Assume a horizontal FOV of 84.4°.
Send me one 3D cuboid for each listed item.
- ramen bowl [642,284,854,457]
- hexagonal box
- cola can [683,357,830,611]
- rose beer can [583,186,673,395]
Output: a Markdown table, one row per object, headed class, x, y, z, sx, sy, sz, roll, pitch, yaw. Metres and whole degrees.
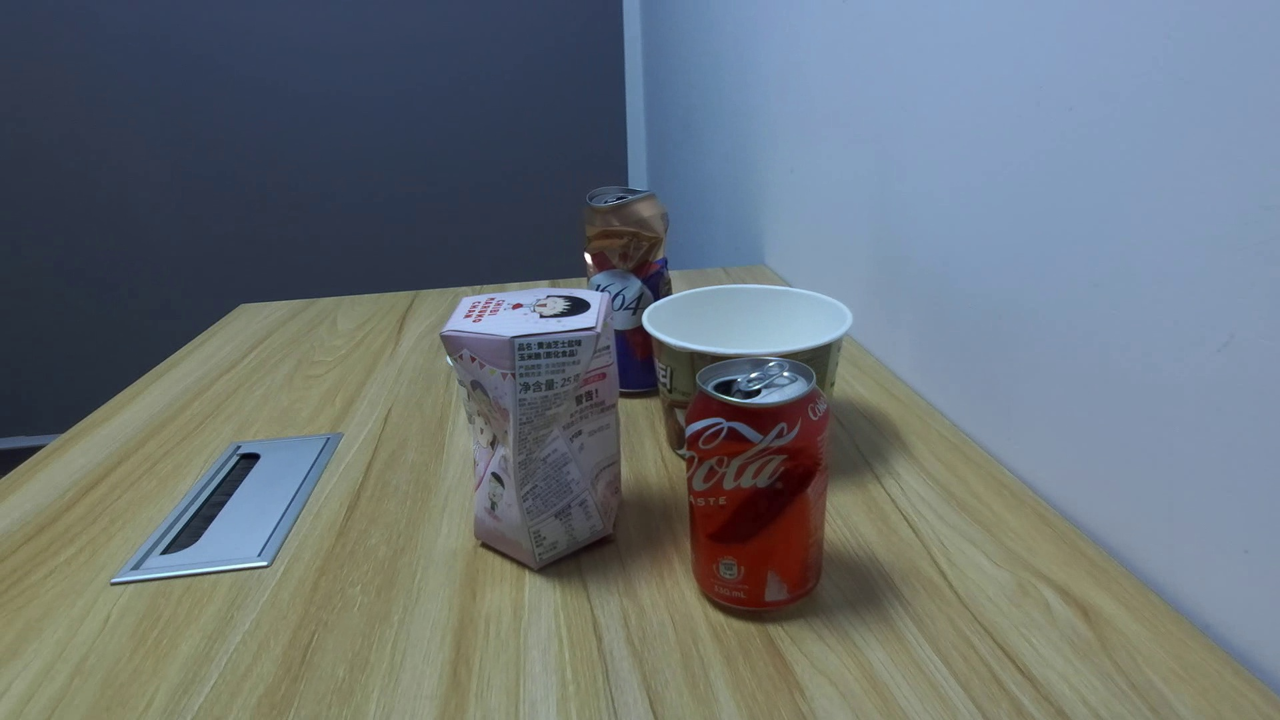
| class | x | y | z | sx | sy | sz | roll | pitch | yaw |
| --- | --- | --- | --- | --- | --- | --- | --- | --- | --- |
| ramen bowl | 0.070 | 0.012 | 0.481 | 0.140 | 0.095 | 0.140 | -1 | 22 | 1 |
| hexagonal box | -0.056 | 0.033 | 0.396 | 0.093 | 0.135 | 0.088 | -17 | 25 | -30 |
| cola can | 0.057 | 0.058 | 0.340 | 0.066 | 0.117 | 0.066 | 4 | 22 | 18 |
| rose beer can | -0.007 | -0.055 | 0.571 | 0.073 | 0.162 | 0.068 | -3 | 21 | 6 |
